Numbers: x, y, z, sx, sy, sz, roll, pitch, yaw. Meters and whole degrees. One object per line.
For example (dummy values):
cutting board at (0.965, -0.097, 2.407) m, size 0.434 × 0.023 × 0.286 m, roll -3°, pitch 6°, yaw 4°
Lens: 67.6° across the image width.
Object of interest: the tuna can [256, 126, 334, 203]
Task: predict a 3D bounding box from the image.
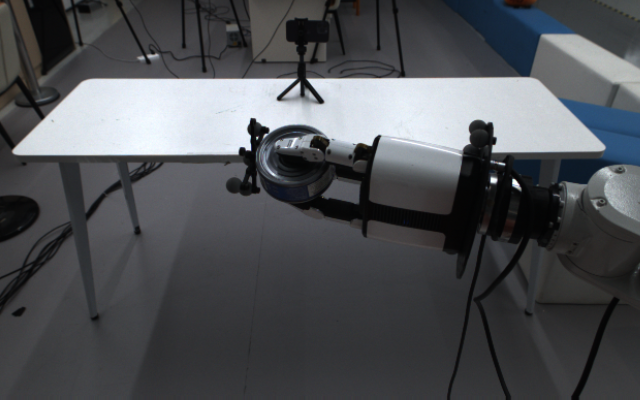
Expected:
tuna can at (-0.023, -0.038, 0.528) m, size 0.085 × 0.034 × 0.085 m, roll -2°, pitch 57°, yaw 3°
